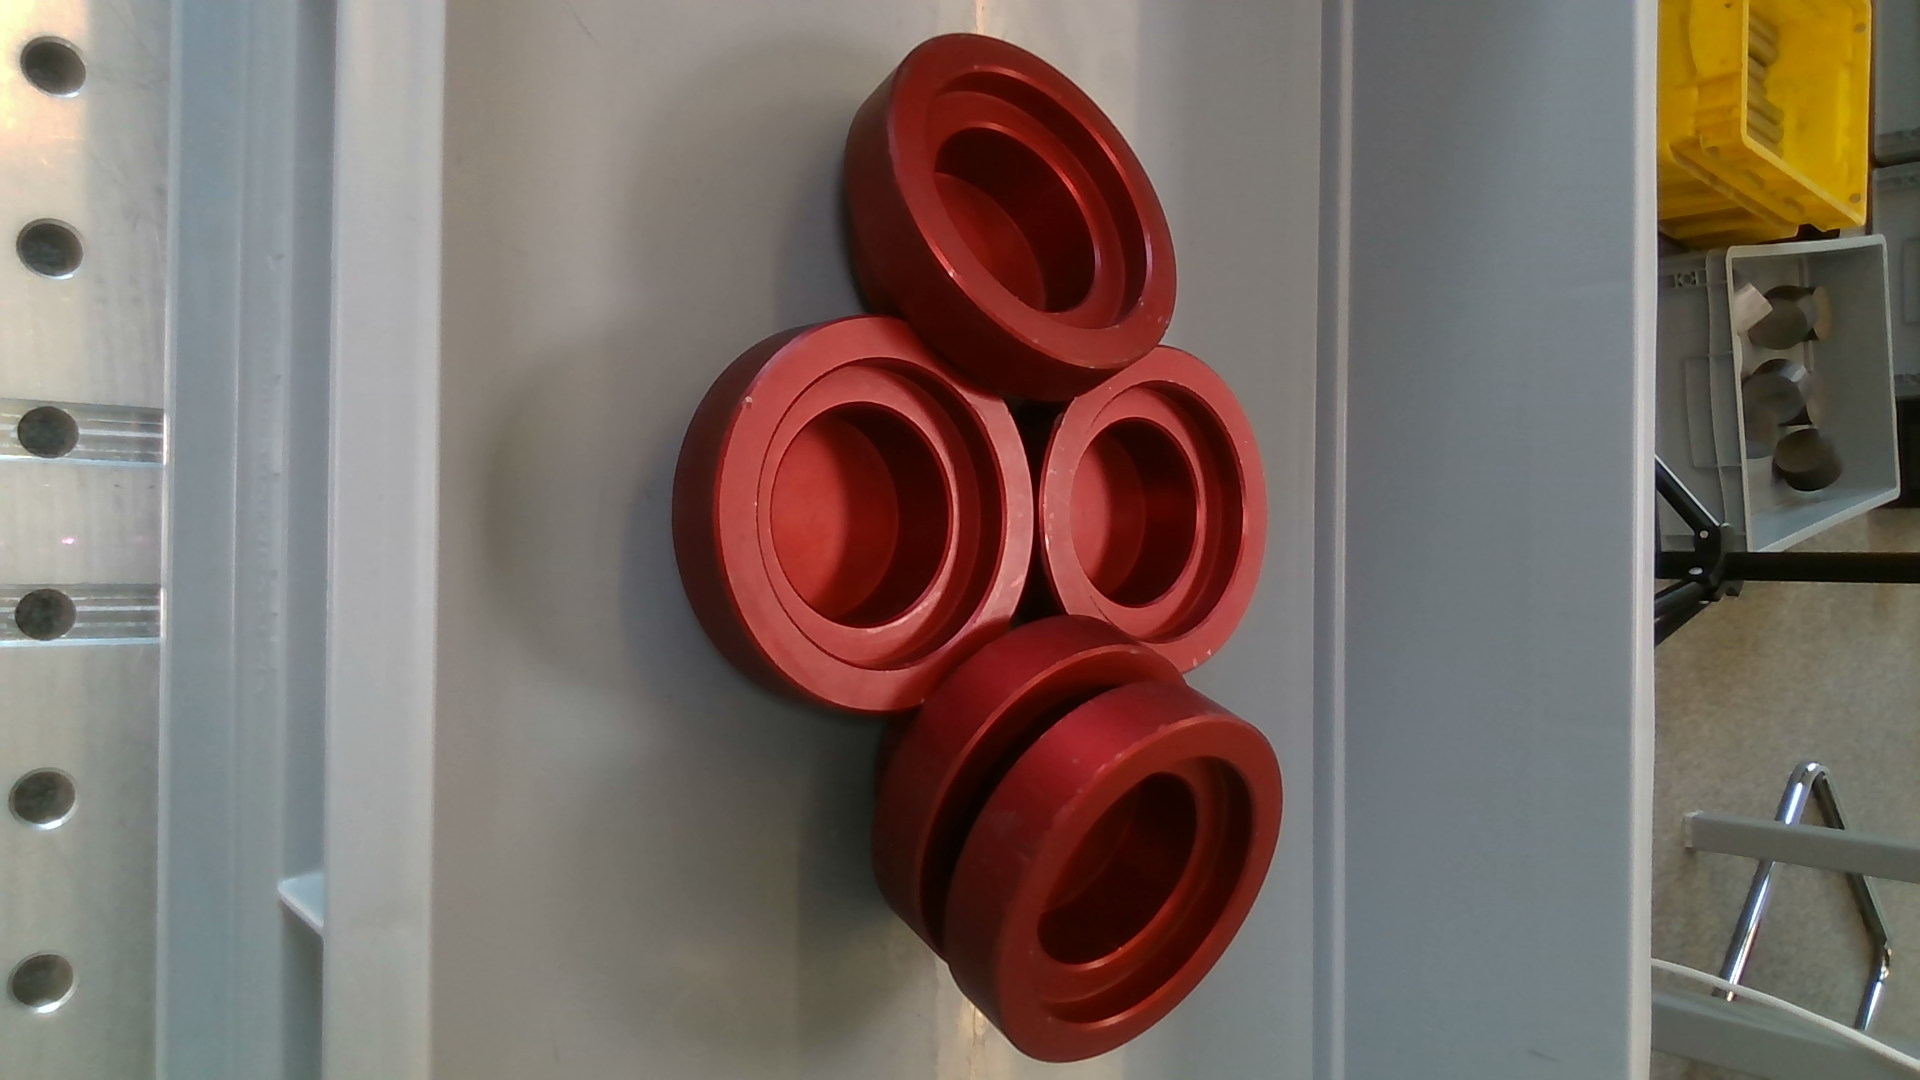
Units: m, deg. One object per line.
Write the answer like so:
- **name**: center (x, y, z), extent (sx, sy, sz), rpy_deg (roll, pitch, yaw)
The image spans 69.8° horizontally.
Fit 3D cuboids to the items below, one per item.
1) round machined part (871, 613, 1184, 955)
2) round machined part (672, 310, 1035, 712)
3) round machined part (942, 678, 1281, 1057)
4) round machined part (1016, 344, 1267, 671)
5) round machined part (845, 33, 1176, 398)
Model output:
- **round machined part**: center (0.016, 0.064, 0.378), extent (0.098, 0.042, 0.098), rpy_deg (-20, 124, -32)
- **round machined part**: center (-0.030, -0.007, 0.352), extent (0.098, 0.042, 0.098), rpy_deg (0, 90, -40)
- **round machined part**: center (0.034, 0.079, 0.357), extent (0.098, 0.042, 0.098), rpy_deg (-19, 124, -32)
- **round machined part**: center (0.046, -0.009, 0.417), extent (0.098, 0.042, 0.098), rpy_deg (0, 90, -40)
- **round machined part**: center (0.009, -0.082, 0.373), extent (0.098, 0.042, 0.098), rpy_deg (19, 58, -33)
